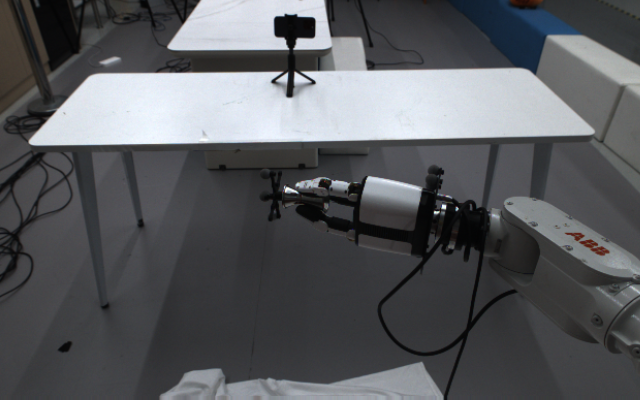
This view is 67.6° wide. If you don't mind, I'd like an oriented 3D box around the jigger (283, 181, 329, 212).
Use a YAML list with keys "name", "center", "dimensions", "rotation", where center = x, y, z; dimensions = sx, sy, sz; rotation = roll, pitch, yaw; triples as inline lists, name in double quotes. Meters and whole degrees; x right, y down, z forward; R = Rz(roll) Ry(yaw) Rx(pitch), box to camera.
- name: "jigger"
  center: [-0.015, -0.008, 0.765]
  dimensions: [0.071, 0.043, 0.043]
  rotation: [3, 34, 12]
